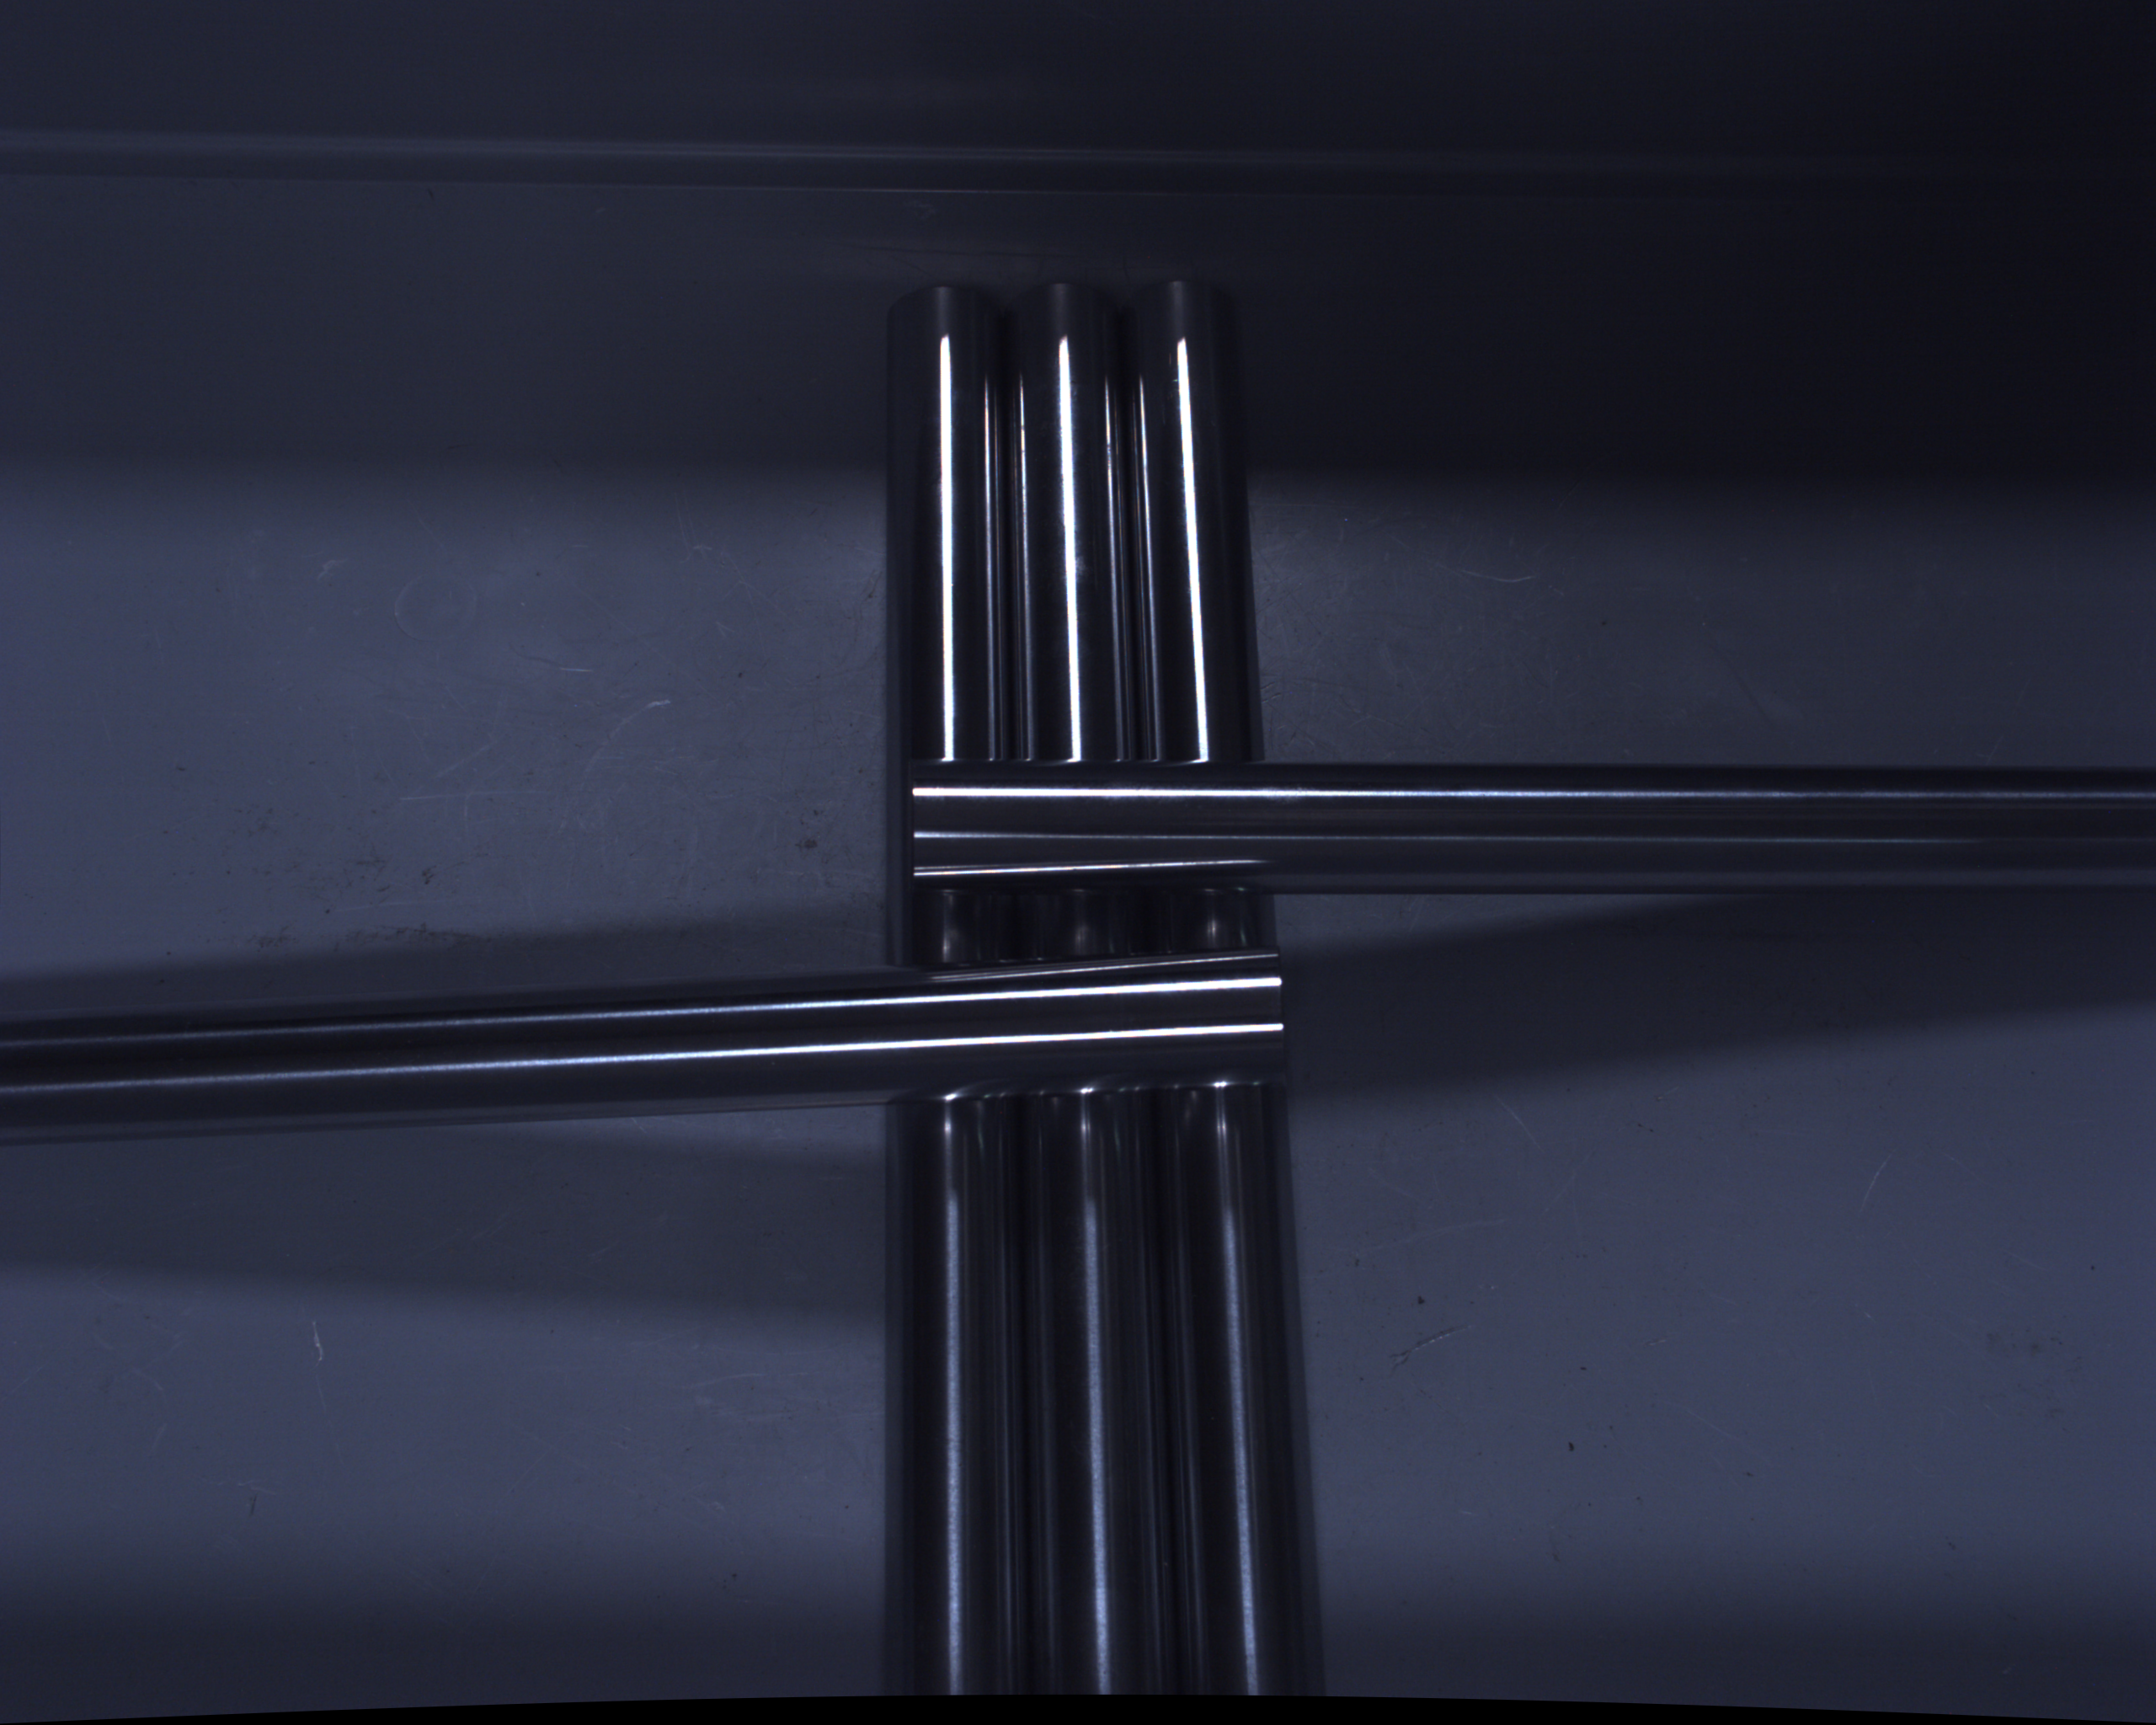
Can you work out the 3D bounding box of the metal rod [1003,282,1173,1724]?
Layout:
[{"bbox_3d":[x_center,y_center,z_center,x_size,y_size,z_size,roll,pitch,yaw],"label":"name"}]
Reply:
[{"bbox_3d":[0.000,0.022,0.400,0.025,0.025,0.299,-1,70,-1],"label":"metal rod"}]

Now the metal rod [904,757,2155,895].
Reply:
[{"bbox_3d":[0.119,-0.006,0.394,0.302,0.025,0.025,0,70,-7],"label":"metal rod"}]

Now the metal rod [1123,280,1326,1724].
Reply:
[{"bbox_3d":[0.026,0.022,0.401,0.025,0.025,0.299,-1,70,-1],"label":"metal rod"}]

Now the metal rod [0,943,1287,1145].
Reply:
[{"bbox_3d":[-0.114,0.035,0.377,0.302,0.025,0.025,-3,70,5],"label":"metal rod"}]

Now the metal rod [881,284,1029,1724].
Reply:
[{"bbox_3d":[-0.024,0.023,0.400,0.025,0.025,0.299,-1,70,-1],"label":"metal rod"}]
